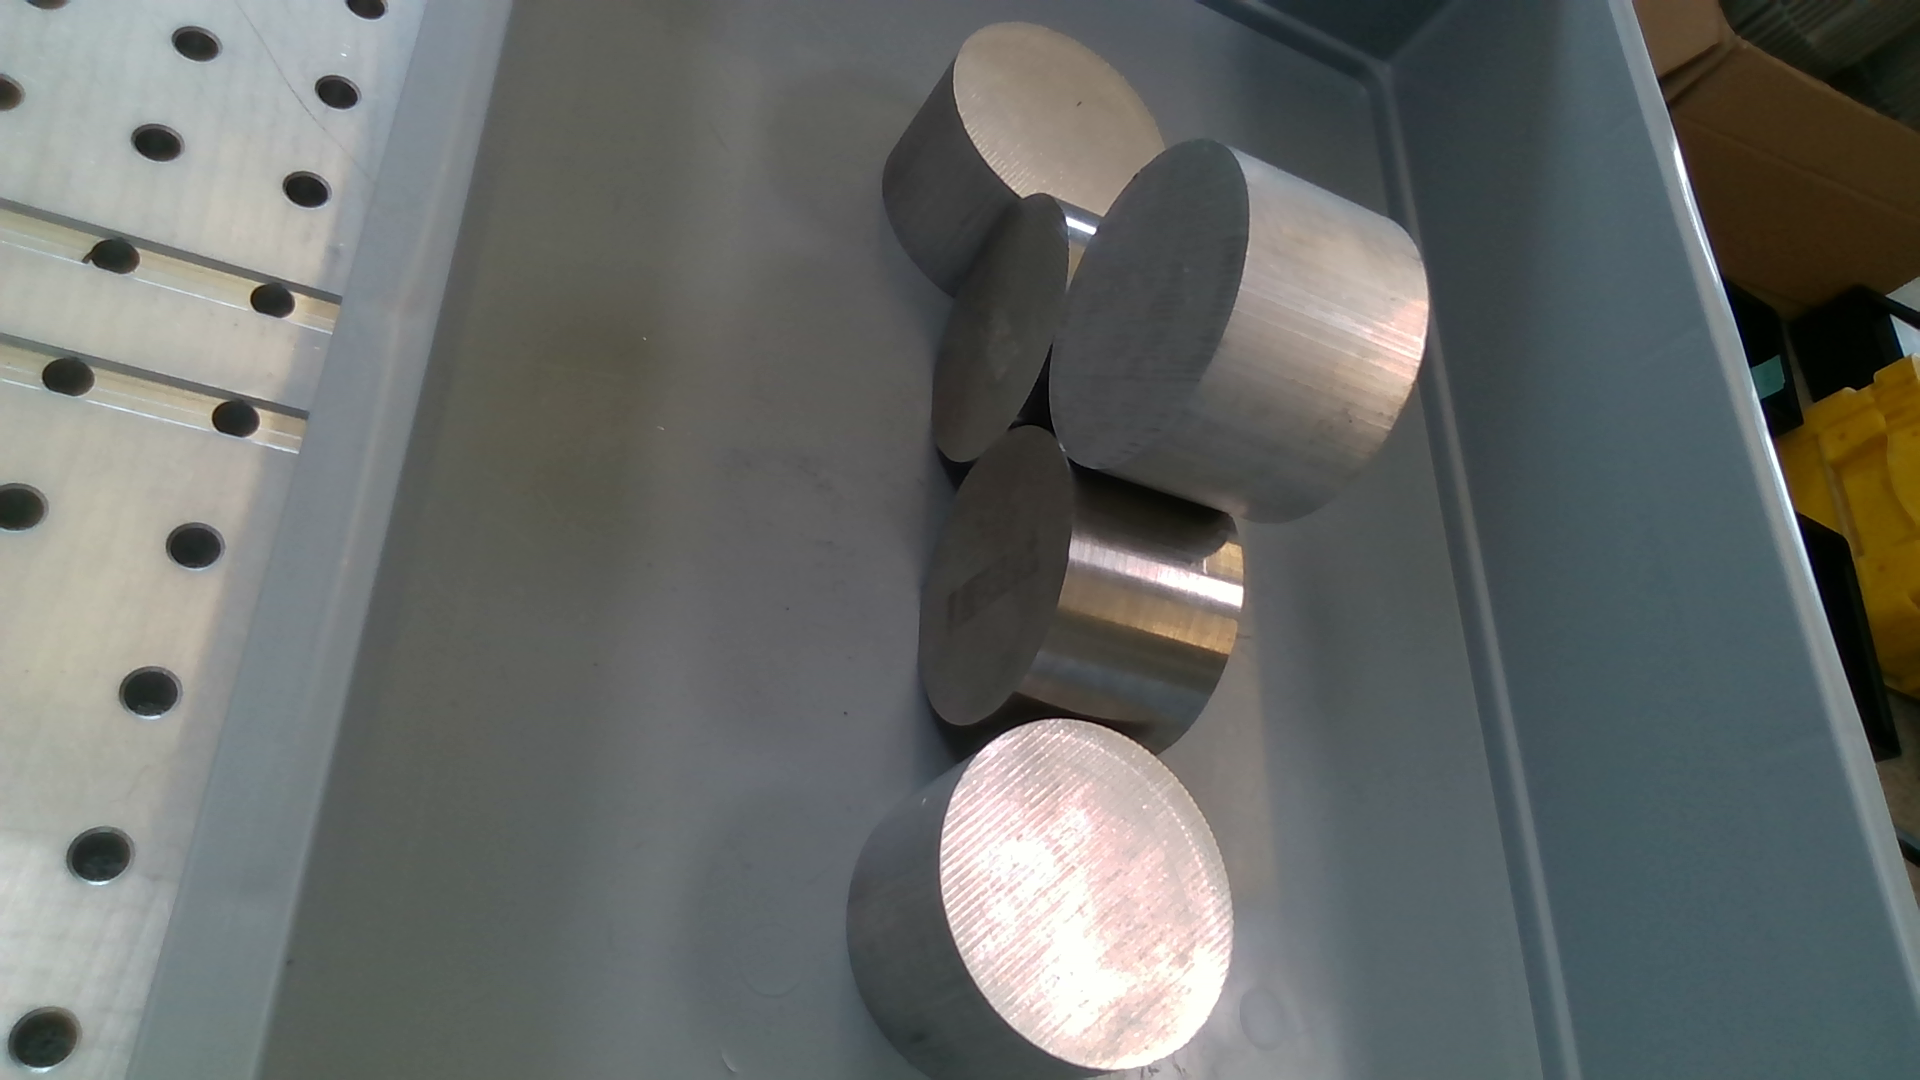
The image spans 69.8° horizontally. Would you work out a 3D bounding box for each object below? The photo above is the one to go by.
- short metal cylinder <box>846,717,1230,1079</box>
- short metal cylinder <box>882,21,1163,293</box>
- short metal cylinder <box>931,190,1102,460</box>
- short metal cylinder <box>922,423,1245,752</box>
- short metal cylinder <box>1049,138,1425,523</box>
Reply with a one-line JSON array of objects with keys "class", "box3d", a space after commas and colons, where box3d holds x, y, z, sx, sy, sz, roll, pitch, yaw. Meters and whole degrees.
[{"class": "short metal cylinder", "box3d": [0.019, 0.090, 0.339, 0.080, 0.050, 0.080, 14, 59, -25]}, {"class": "short metal cylinder", "box3d": [0.021, -0.121, 0.453, 0.080, 0.050, 0.080, 14, 59, -25]}, {"class": "short metal cylinder", "box3d": [0.032, -0.055, 0.405, 0.050, 0.080, 0.080, 16, 58, -24]}, {"class": "short metal cylinder", "box3d": [0.030, 0.014, 0.367, 0.050, 0.080, 0.080, 16, 58, -24]}, {"class": "short metal cylinder", "box3d": [0.064, -0.049, 0.333, 0.050, 0.080, 0.080, 16, 58, -24]}]
